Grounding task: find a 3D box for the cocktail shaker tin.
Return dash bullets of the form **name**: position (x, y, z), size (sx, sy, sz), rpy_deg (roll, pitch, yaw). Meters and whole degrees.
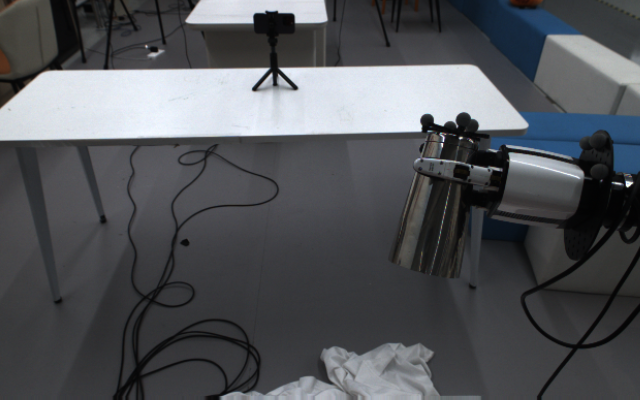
- **cocktail shaker tin**: position (0.153, 0.002, 0.623), size (0.093, 0.170, 0.093), rpy_deg (12, 3, -1)
